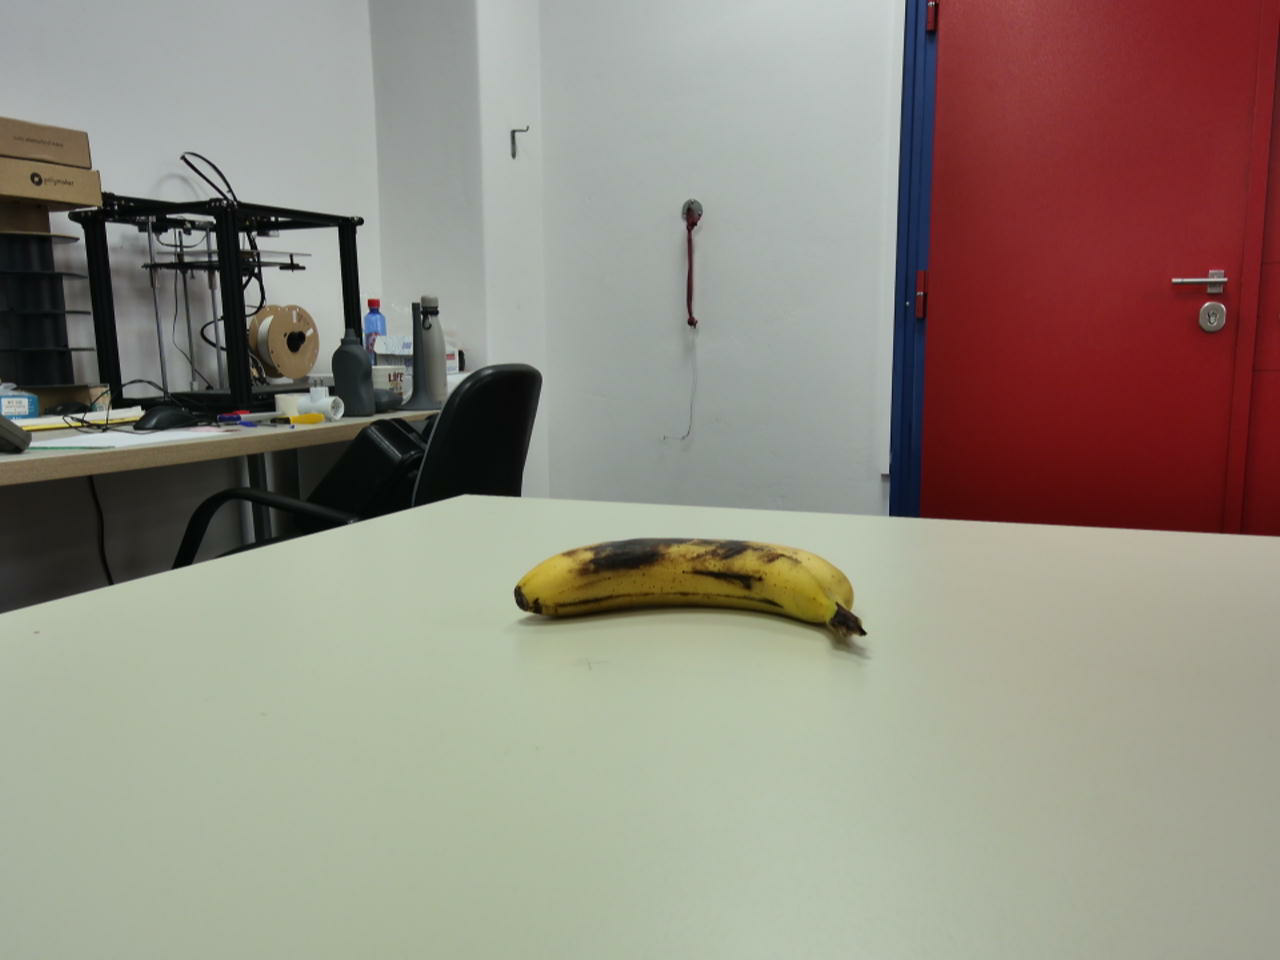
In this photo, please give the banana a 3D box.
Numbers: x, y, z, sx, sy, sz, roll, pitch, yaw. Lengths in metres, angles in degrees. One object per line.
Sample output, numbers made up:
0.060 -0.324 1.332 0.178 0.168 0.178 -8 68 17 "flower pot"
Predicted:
0.032 0.057 0.542 0.187 0.039 0.094 2 6 22 "banana"
